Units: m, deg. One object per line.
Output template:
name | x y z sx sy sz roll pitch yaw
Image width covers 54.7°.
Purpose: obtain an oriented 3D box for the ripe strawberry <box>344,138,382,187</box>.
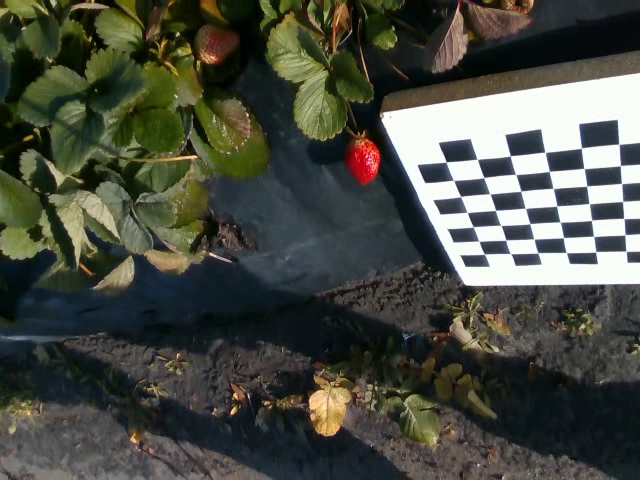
ripe strawberry | 0.033 -0.057 0.445 0.034 0.038 0.033 -3 5 29
